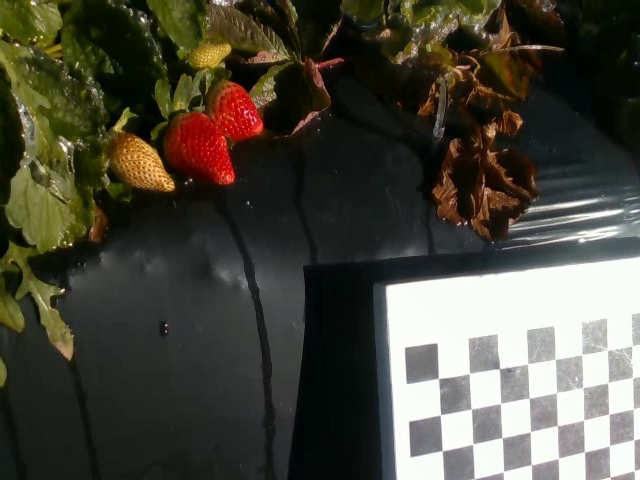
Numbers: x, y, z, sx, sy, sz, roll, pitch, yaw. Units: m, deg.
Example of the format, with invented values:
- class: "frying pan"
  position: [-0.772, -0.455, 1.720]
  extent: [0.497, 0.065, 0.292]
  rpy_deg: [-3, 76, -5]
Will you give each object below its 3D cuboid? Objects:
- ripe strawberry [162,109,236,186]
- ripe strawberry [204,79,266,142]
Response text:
- class: "ripe strawberry"
  position: [-0.063, -0.046, 0.362]
  extent: [0.051, 0.036, 0.040]
  rpy_deg: [40, -16, 20]
- class: "ripe strawberry"
  position: [-0.050, -0.076, 0.385]
  extent: [0.041, 0.036, 0.030]
  rpy_deg: [24, -7, -16]
